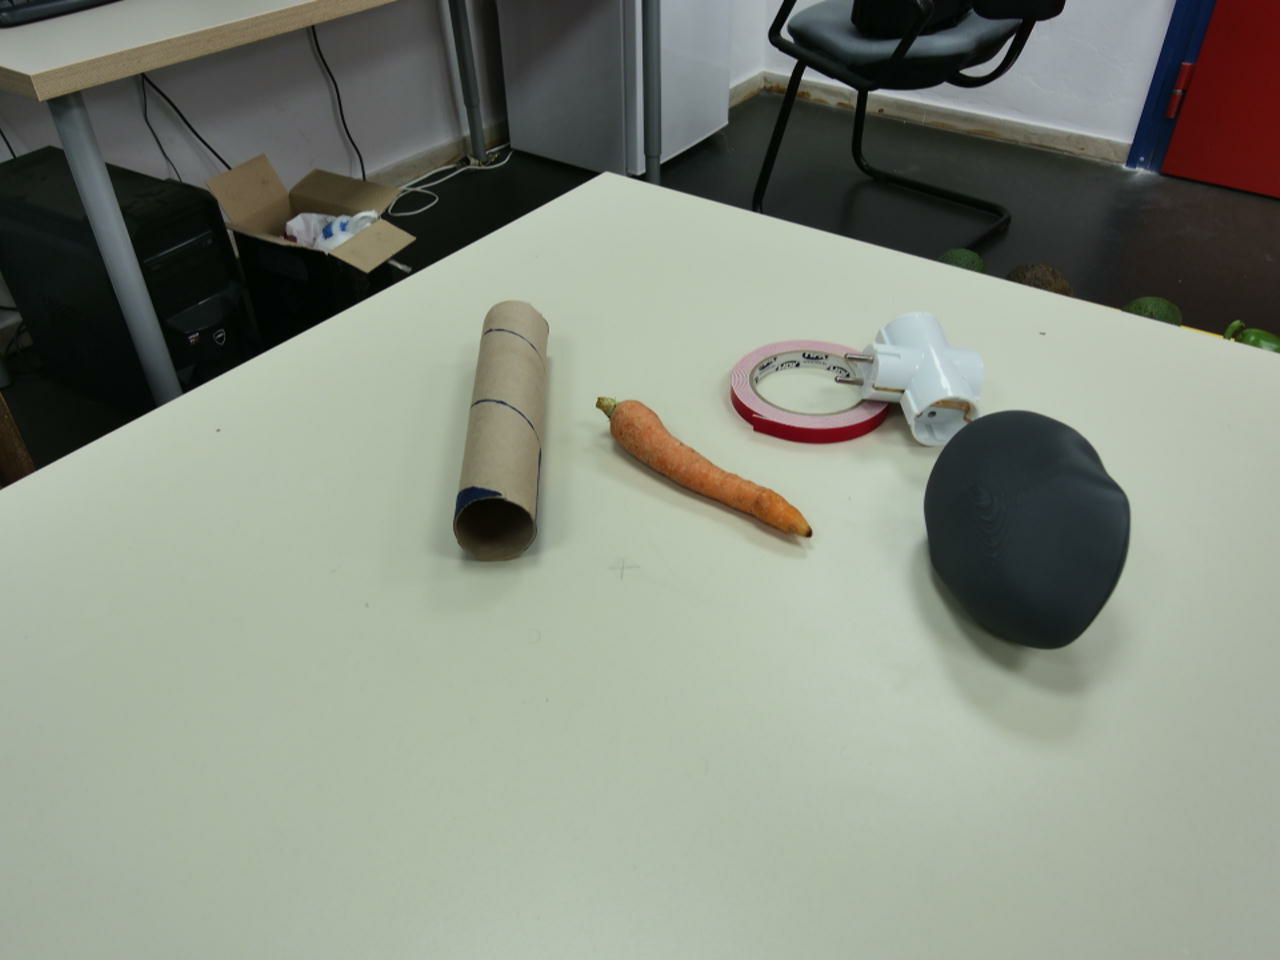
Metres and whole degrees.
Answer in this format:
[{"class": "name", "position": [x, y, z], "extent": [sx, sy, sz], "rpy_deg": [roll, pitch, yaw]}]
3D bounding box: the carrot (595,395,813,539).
[{"class": "carrot", "position": [0.035, -0.010, 0.610], "extent": [0.030, 0.032, 0.173], "rpy_deg": [-31, 47, -33]}]
